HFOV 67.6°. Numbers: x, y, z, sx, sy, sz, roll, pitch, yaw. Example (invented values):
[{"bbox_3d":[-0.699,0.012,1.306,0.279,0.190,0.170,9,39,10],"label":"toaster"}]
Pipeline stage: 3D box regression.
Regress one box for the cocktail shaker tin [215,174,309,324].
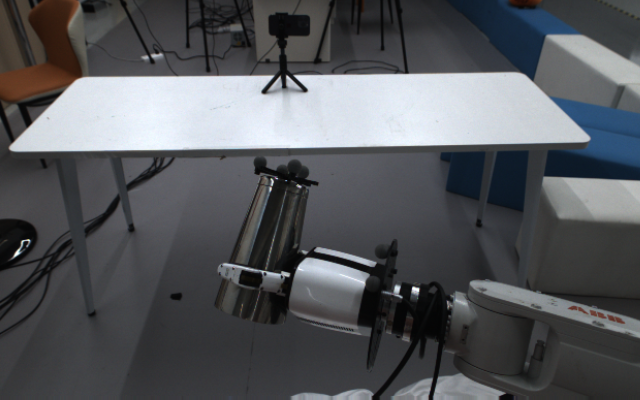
[{"bbox_3d":[-0.066,0.061,0.614,0.093,0.170,0.093,14,-4,1],"label":"cocktail shaker tin"}]
